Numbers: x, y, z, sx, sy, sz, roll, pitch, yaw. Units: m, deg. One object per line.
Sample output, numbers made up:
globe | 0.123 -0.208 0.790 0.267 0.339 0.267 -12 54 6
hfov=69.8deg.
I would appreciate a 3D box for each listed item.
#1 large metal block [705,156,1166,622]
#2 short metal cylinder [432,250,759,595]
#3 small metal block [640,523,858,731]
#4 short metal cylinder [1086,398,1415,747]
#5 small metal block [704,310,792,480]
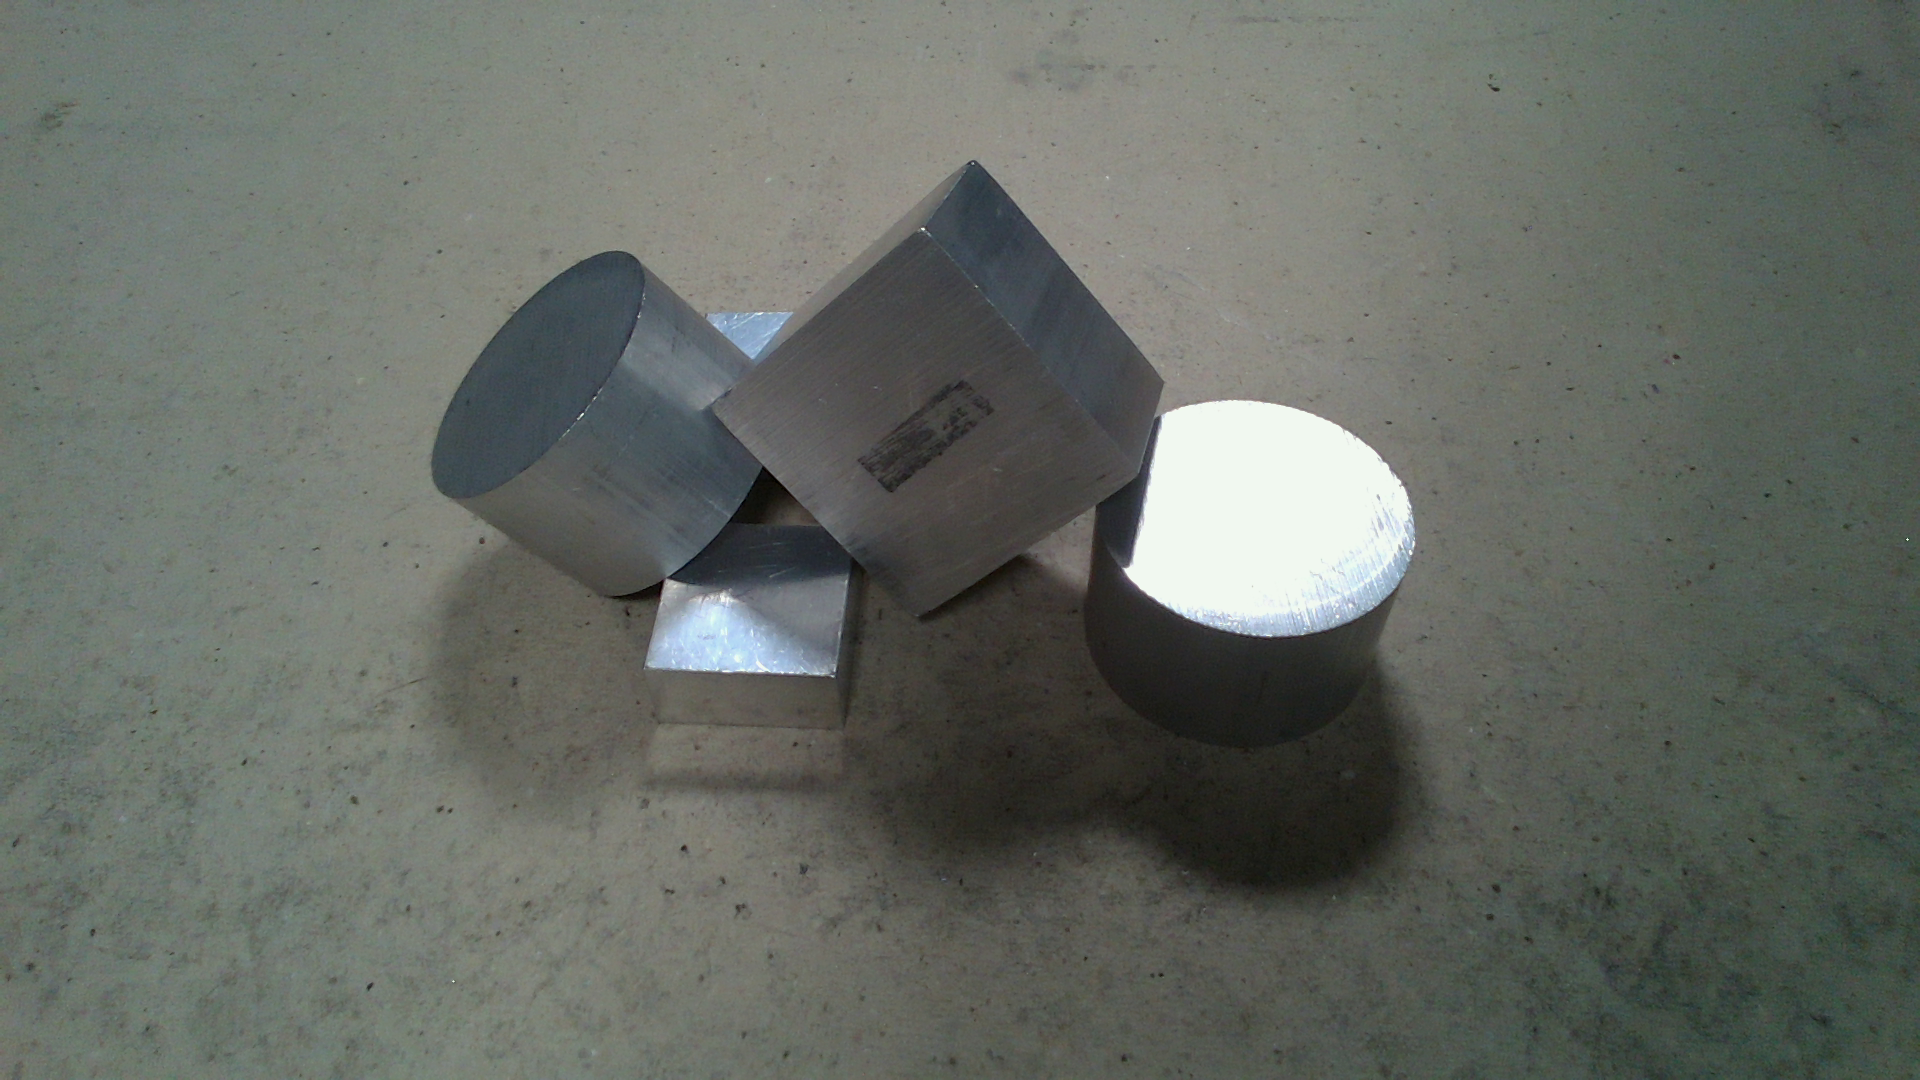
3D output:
large metal block | -0.005 -0.038 0.364 0.080 0.080 0.050 47 33 -15
short metal cylinder | -0.098 -0.032 0.379 0.080 0.050 0.080 -25 45 27
small metal block | -0.054 0.023 0.372 0.050 0.025 0.050 2 50 2
short metal cylinder | 0.075 0.008 0.369 0.080 0.050 0.080 0 50 0
small metal block | -0.056 -0.046 0.430 0.050 0.025 0.050 -1 50 -1
